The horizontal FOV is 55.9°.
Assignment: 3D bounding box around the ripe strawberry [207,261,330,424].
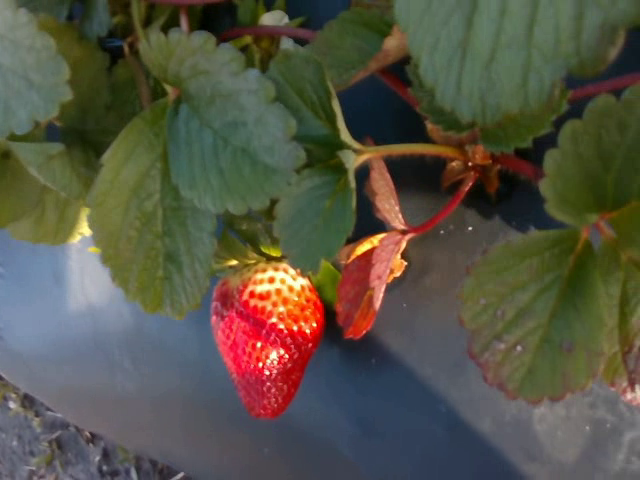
[{"bbox_3d":[-0.019,0.032,0.189,0.040,0.056,0.040,5,-22,-20],"label":"ripe strawberry"}]
